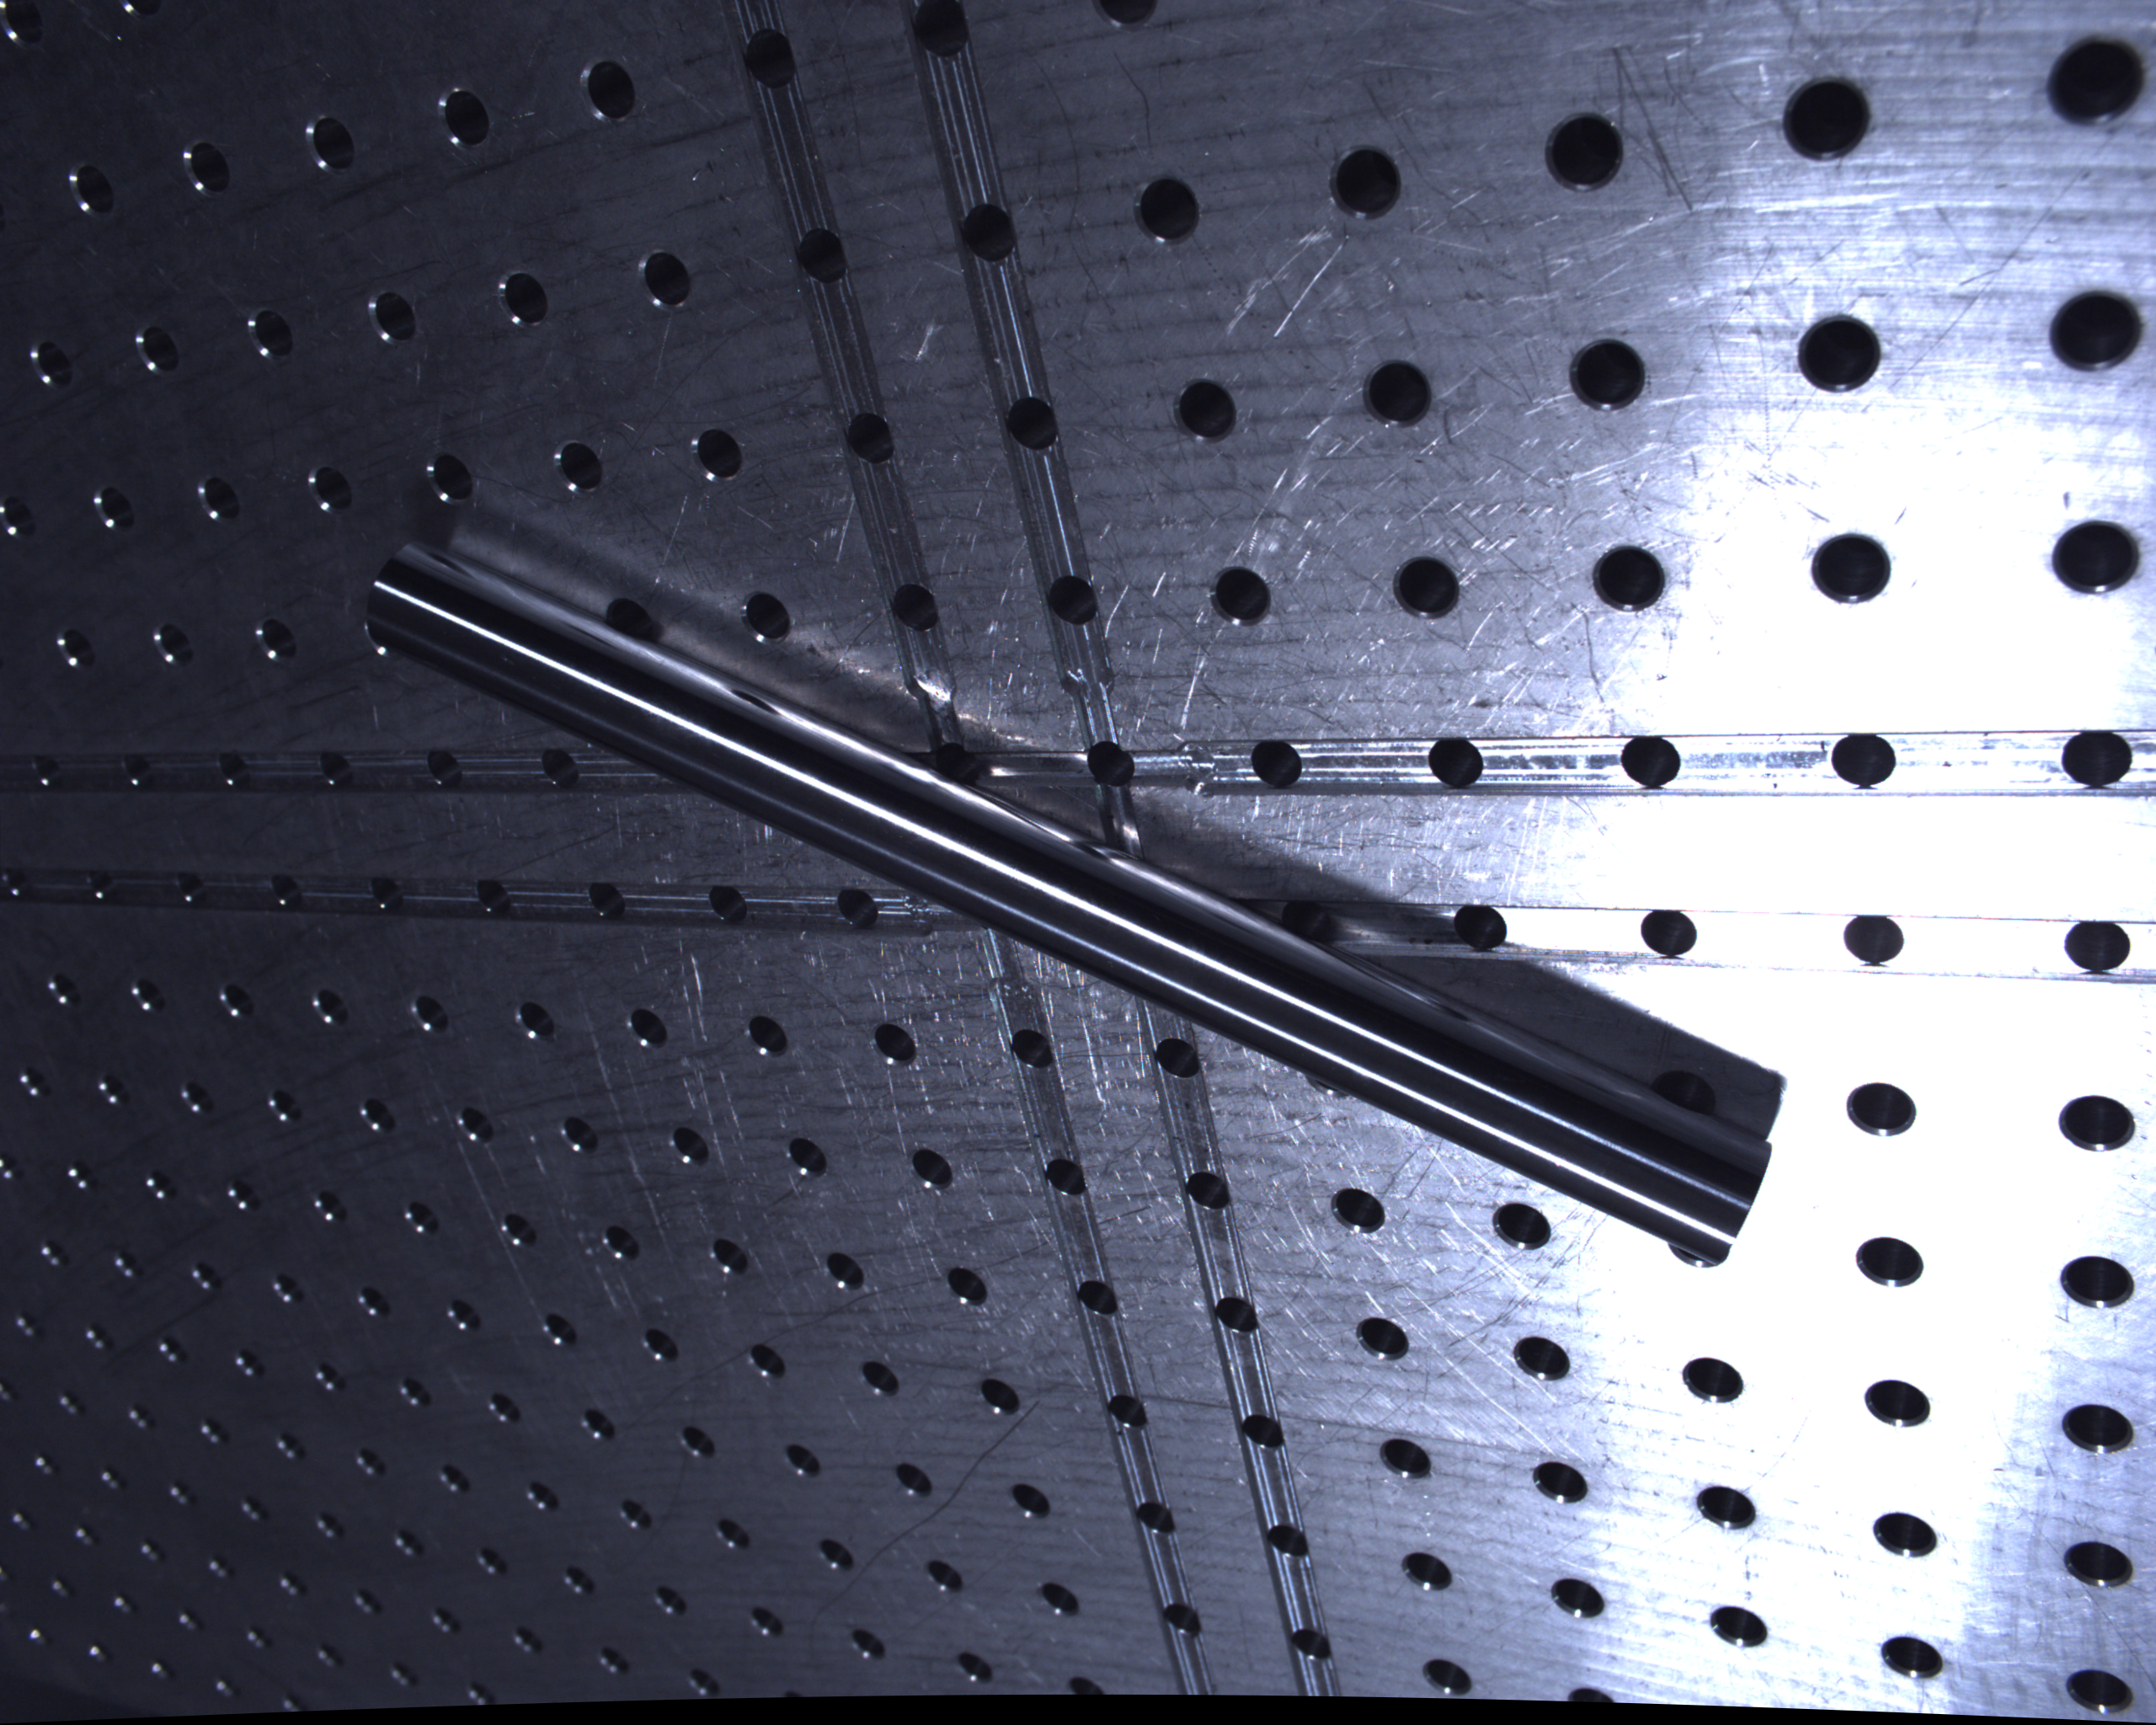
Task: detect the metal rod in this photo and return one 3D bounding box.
[{"bbox_3d":[-0.011,0.002,0.417,0.301,0.025,0.025,24,127,12],"label":"metal rod"}]
